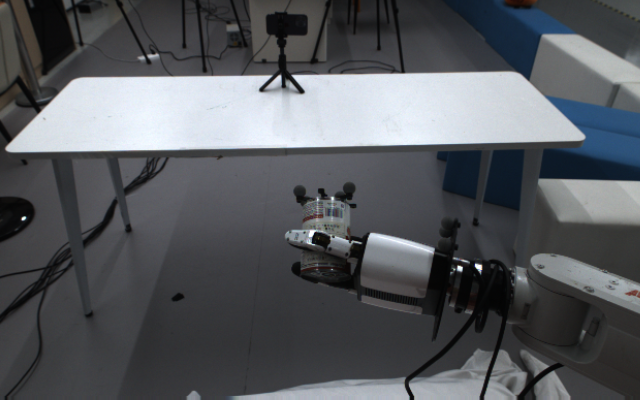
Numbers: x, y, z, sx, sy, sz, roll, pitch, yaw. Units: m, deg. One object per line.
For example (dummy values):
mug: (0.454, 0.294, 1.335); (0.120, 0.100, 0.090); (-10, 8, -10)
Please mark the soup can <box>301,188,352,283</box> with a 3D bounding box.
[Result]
soup can: (0.010, 0.055, 0.649); (0.067, 0.067, 0.101); (1, 69, -1)
